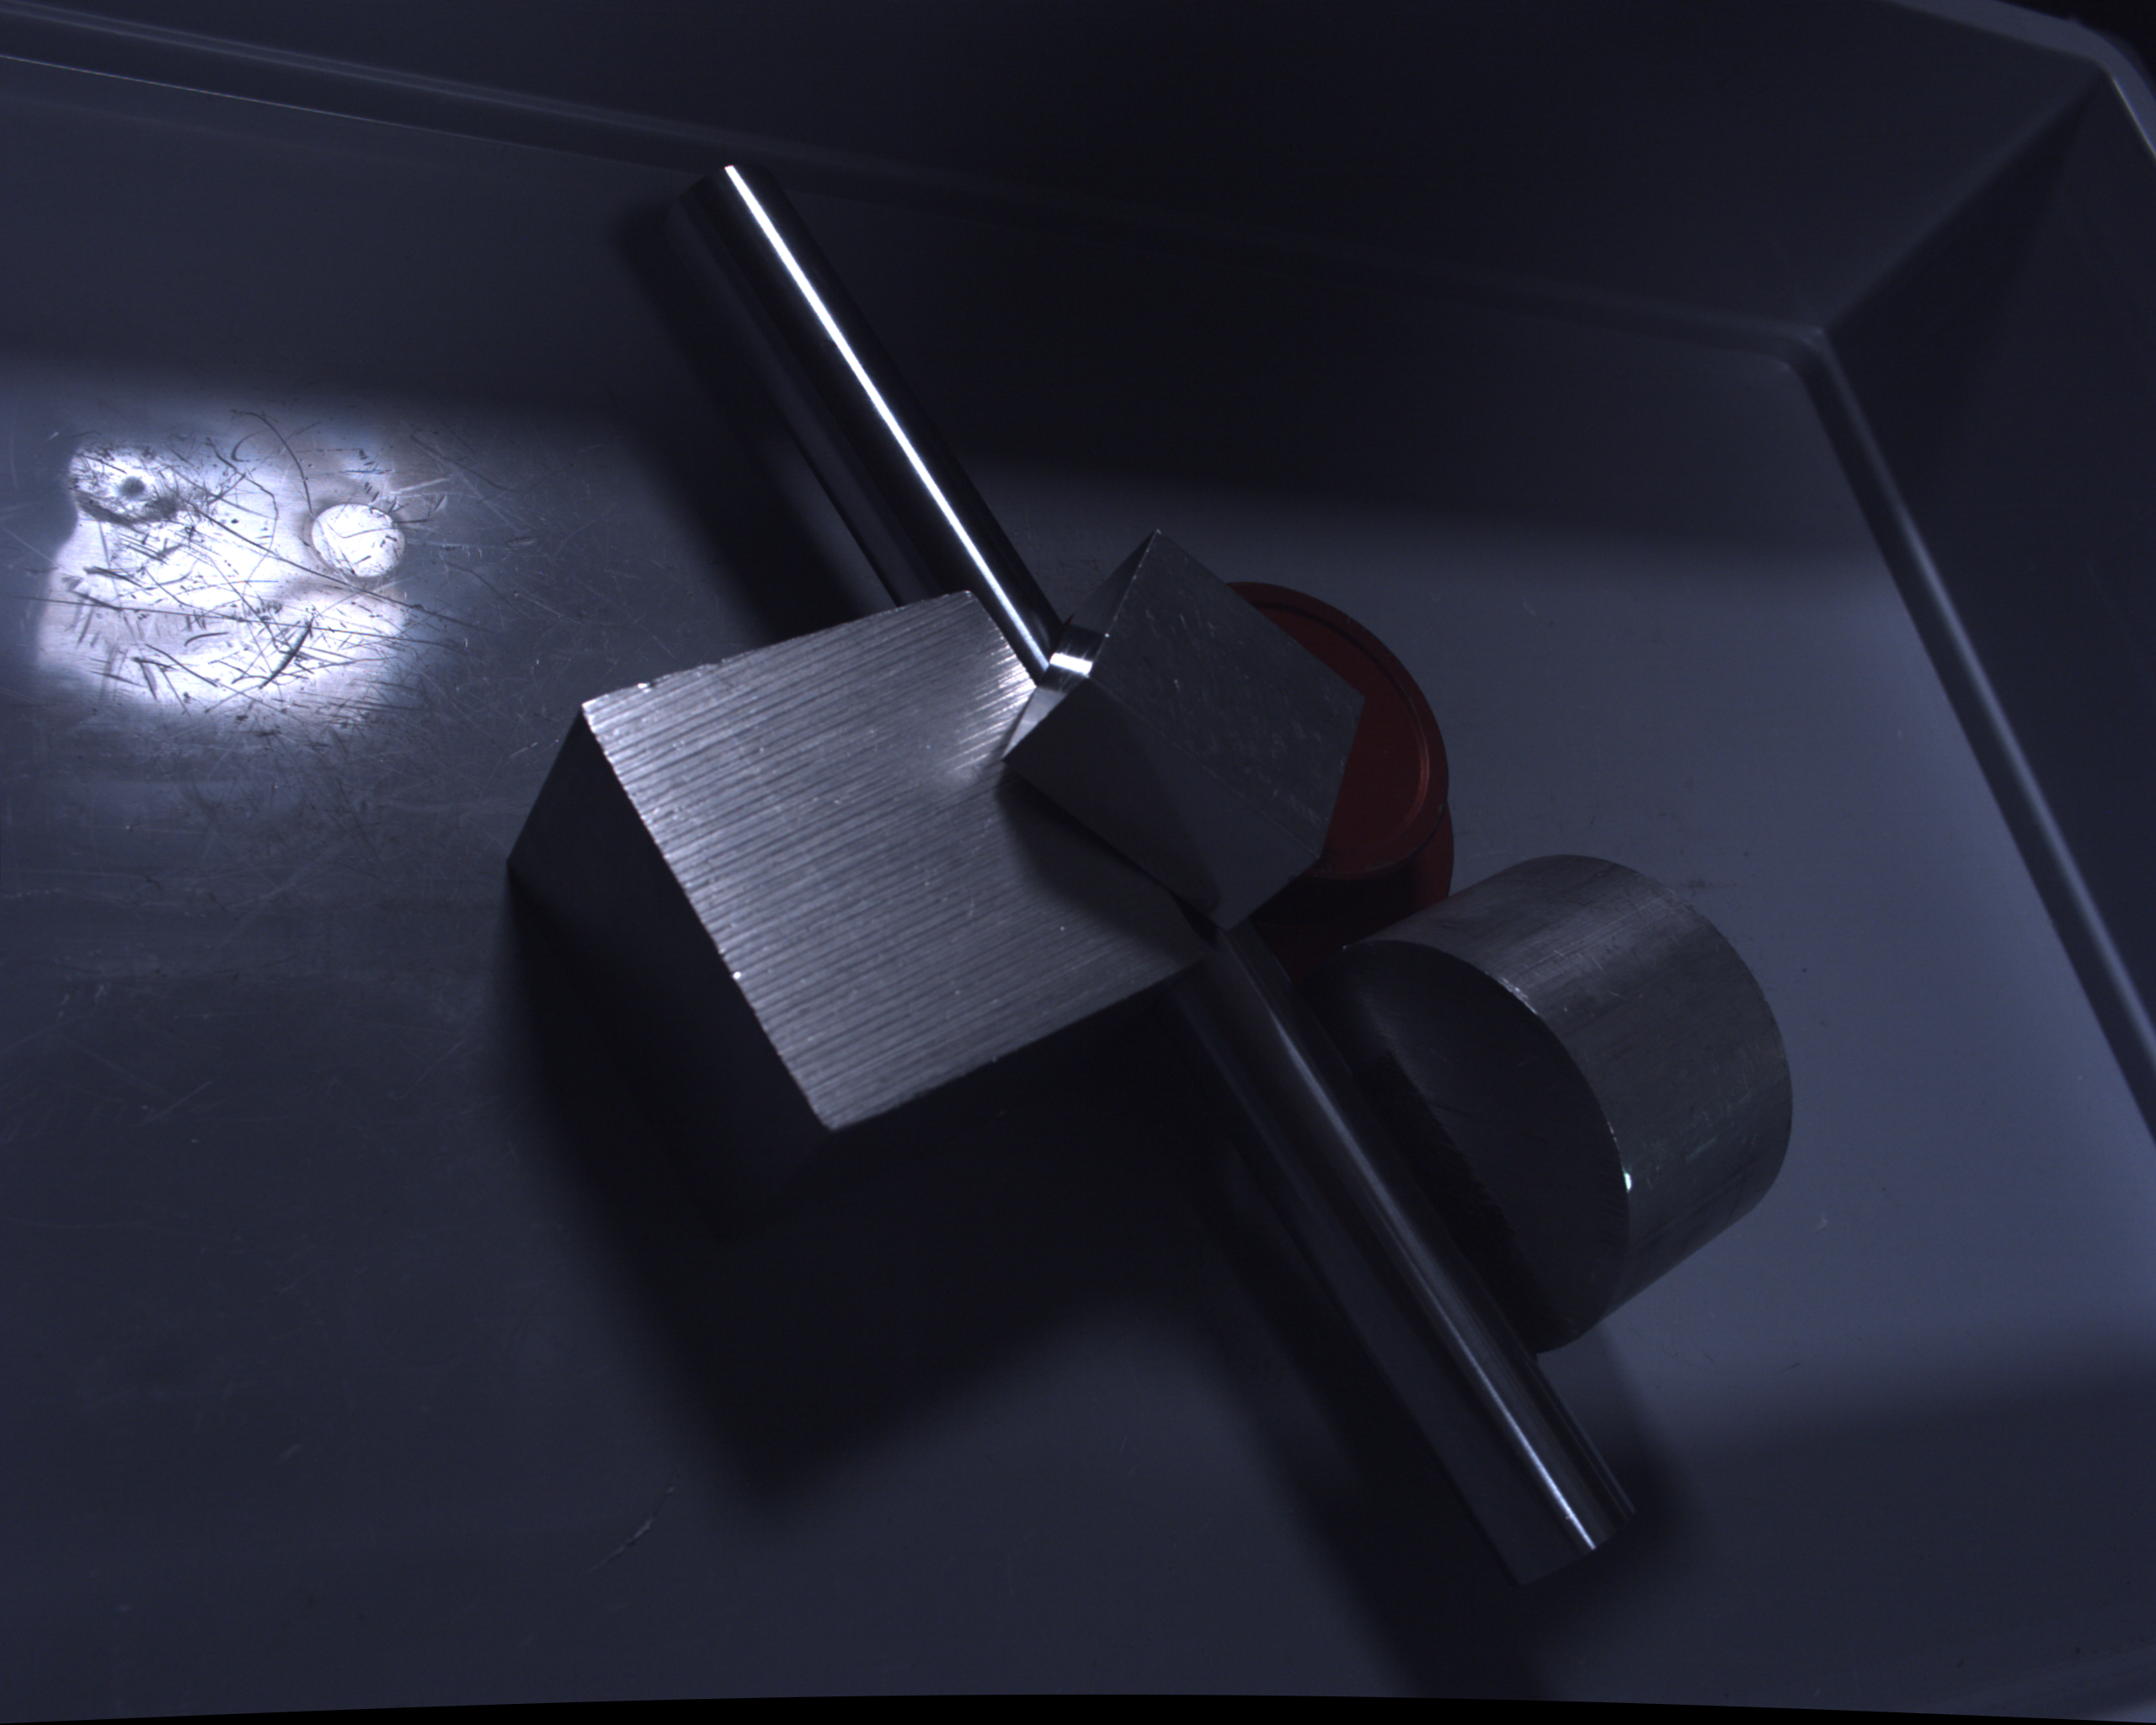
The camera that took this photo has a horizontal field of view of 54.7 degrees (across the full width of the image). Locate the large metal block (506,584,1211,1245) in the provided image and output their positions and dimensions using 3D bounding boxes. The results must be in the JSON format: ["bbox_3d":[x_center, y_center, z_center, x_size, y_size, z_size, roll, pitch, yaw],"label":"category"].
[{"bbox_3d":[-0.039,0.007,0.361,0.081,0.050,0.080,-23,74,-36],"label":"large metal block"}]

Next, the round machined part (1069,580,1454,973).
[{"bbox_3d":[0.035,-0.018,0.424,0.099,0.042,0.098,14,56,-21],"label":"round machined part"}]

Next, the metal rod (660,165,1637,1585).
[{"bbox_3d":[0.006,-0.008,0.386,0.025,0.025,0.299,-23,74,-37],"label":"metal rod"}]

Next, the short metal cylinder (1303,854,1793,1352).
[{"bbox_3d":[0.083,0.044,0.388,0.050,0.080,0.080,-23,74,-37],"label":"short metal cylinder"}]

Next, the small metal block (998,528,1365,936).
[{"bbox_3d":[0.020,-0.024,0.368,0.050,0.025,0.050,37,39,-12],"label":"small metal block"}]
